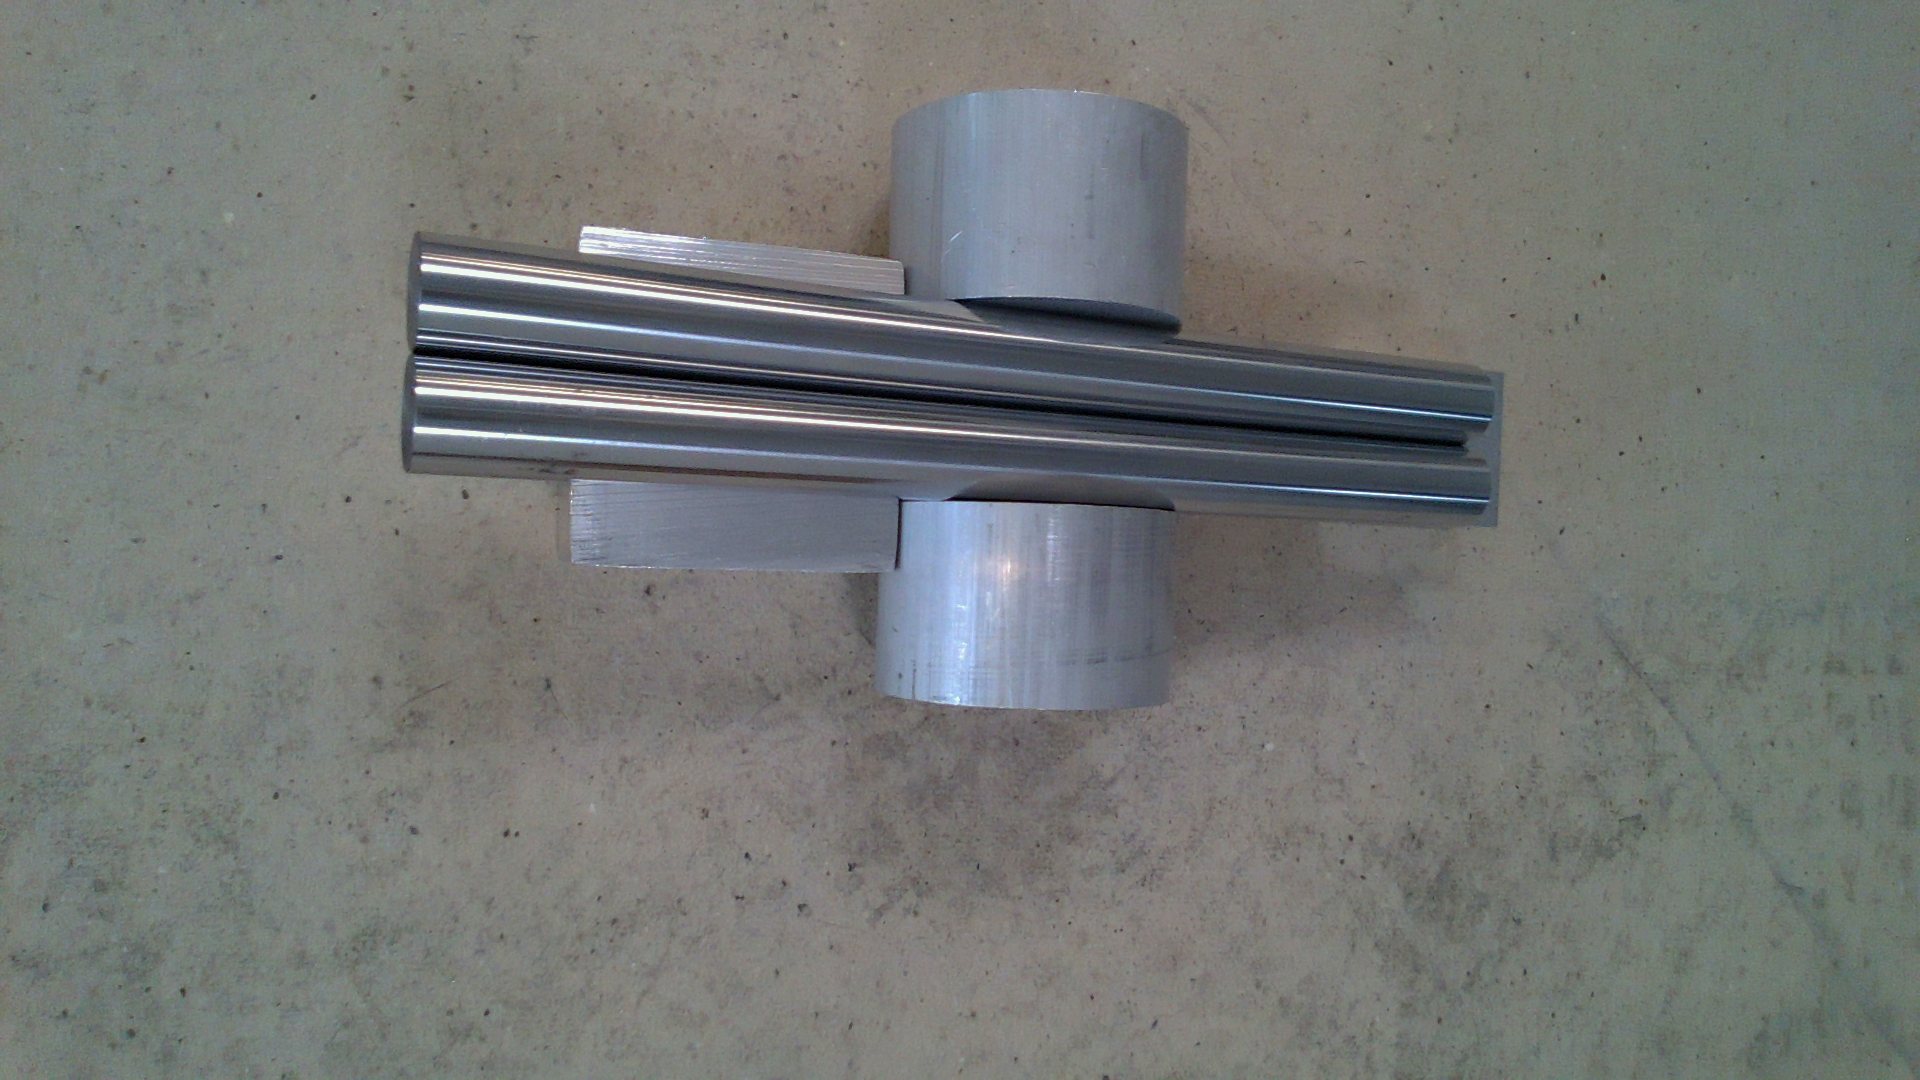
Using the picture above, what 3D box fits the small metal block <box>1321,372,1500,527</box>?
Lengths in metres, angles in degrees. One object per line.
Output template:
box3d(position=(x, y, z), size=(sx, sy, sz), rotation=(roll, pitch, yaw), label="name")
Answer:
box3d(position=(0.145, -0.030, 0.447), size=(0.050, 0.025, 0.050), rotation=(3, 89, -20), label="small metal block")

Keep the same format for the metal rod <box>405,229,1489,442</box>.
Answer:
box3d(position=(0.020, -0.047, 0.353), size=(0.301, 0.025, 0.025), rotation=(2, 89, -28), label="metal rod")

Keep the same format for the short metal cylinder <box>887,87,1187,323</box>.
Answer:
box3d(position=(0.021, -0.084, 0.372), size=(0.080, 0.080, 0.050), rotation=(2, 90, -20), label="short metal cylinder")

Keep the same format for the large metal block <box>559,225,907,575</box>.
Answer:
box3d(position=(-0.061, -0.032, 0.358), size=(0.080, 0.050, 0.080), rotation=(2, 89, -20), label="large metal block")

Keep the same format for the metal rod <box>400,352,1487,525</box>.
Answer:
box3d(position=(0.019, -0.022, 0.353), size=(0.301, 0.025, 0.025), rotation=(2, 89, -28), label="metal rod")

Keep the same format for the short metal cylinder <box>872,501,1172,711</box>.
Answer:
box3d(position=(0.017, 0.016, 0.371), size=(0.080, 0.080, 0.050), rotation=(2, 90, -20), label="short metal cylinder")
